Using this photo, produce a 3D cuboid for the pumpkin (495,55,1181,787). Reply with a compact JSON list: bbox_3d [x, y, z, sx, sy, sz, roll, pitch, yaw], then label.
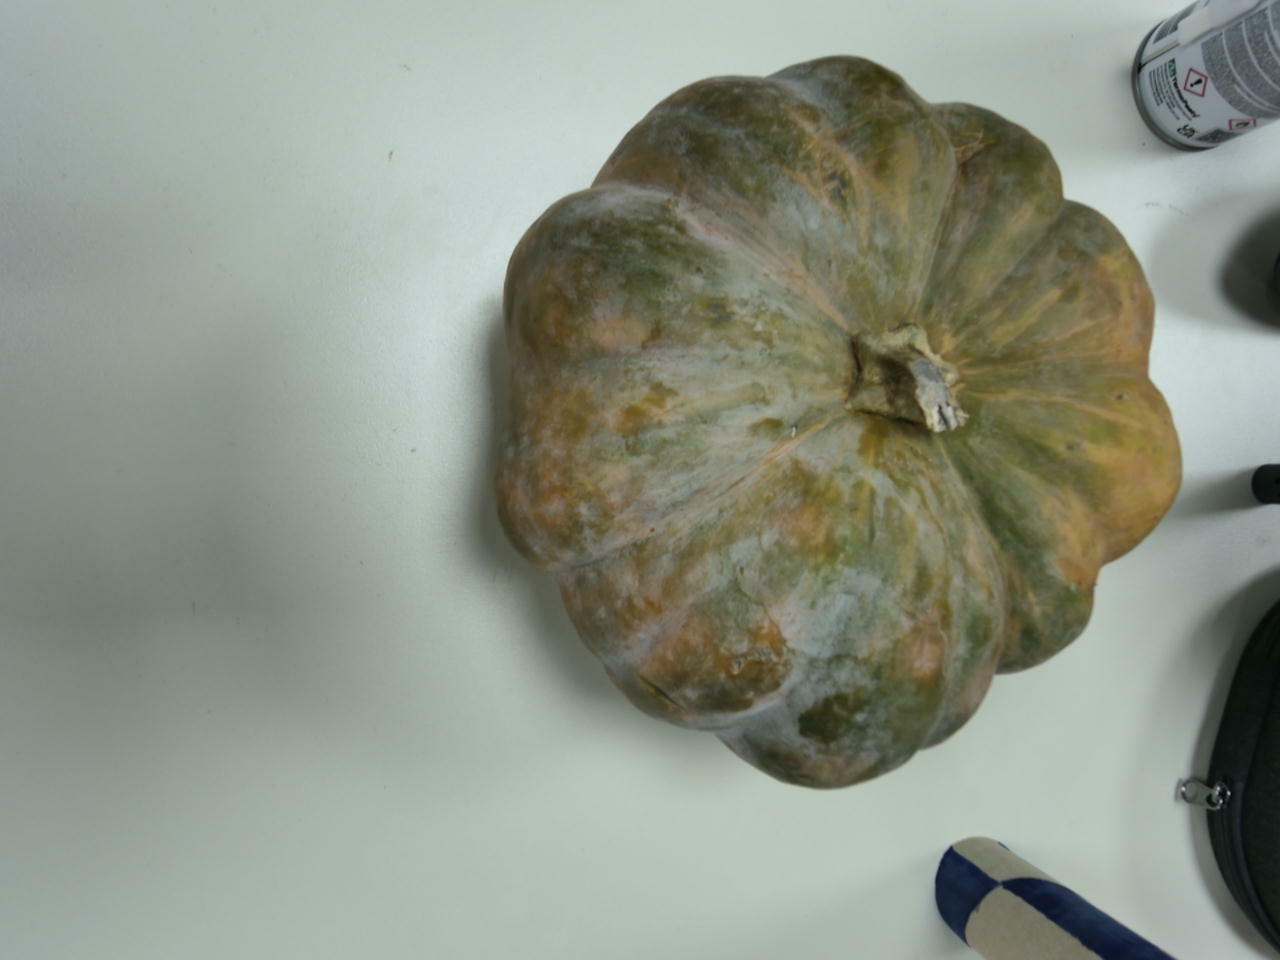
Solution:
[{"bbox_3d":[0.067,-0.027,0.366,0.252,0.169,0.252,0,91,-12],"label":"pumpkin"}]
